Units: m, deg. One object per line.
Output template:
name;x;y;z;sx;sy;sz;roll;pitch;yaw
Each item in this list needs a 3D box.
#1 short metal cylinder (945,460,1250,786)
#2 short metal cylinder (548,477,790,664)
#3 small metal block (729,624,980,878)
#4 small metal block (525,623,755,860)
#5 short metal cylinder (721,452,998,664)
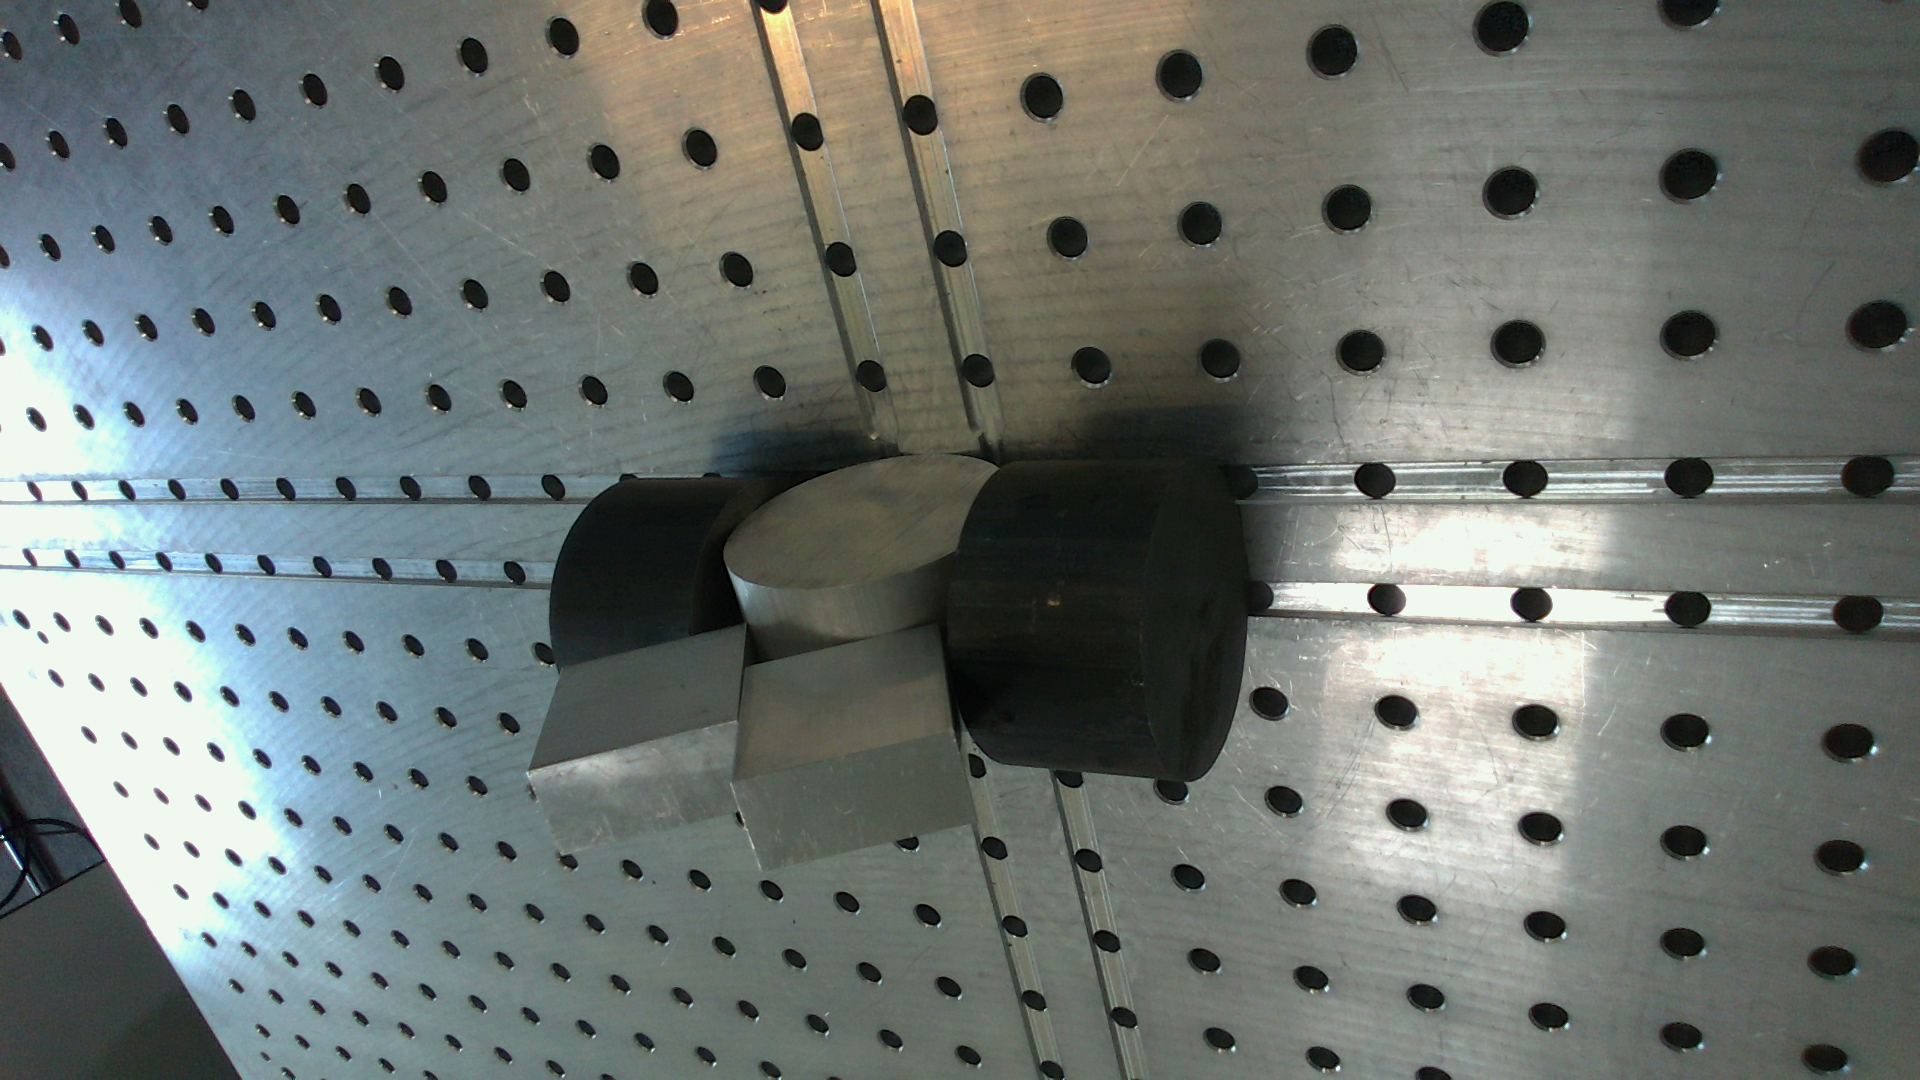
short metal cylinder;0.038;0.020;0.351;0.050;0.080;0.080;1;119;29
short metal cylinder;-0.076;0.021;0.413;0.050;0.080;0.080;1;119;28
small metal block;-0.025;0.048;0.323;0.050;0.050;0.025;-13;115;1
small metal block;-0.076;0.049;0.346;0.050;0.050;0.025;-14;115;0
short metal cylinder;-0.020;0.016;0.380;0.080;0.080;0.050;1;119;28
